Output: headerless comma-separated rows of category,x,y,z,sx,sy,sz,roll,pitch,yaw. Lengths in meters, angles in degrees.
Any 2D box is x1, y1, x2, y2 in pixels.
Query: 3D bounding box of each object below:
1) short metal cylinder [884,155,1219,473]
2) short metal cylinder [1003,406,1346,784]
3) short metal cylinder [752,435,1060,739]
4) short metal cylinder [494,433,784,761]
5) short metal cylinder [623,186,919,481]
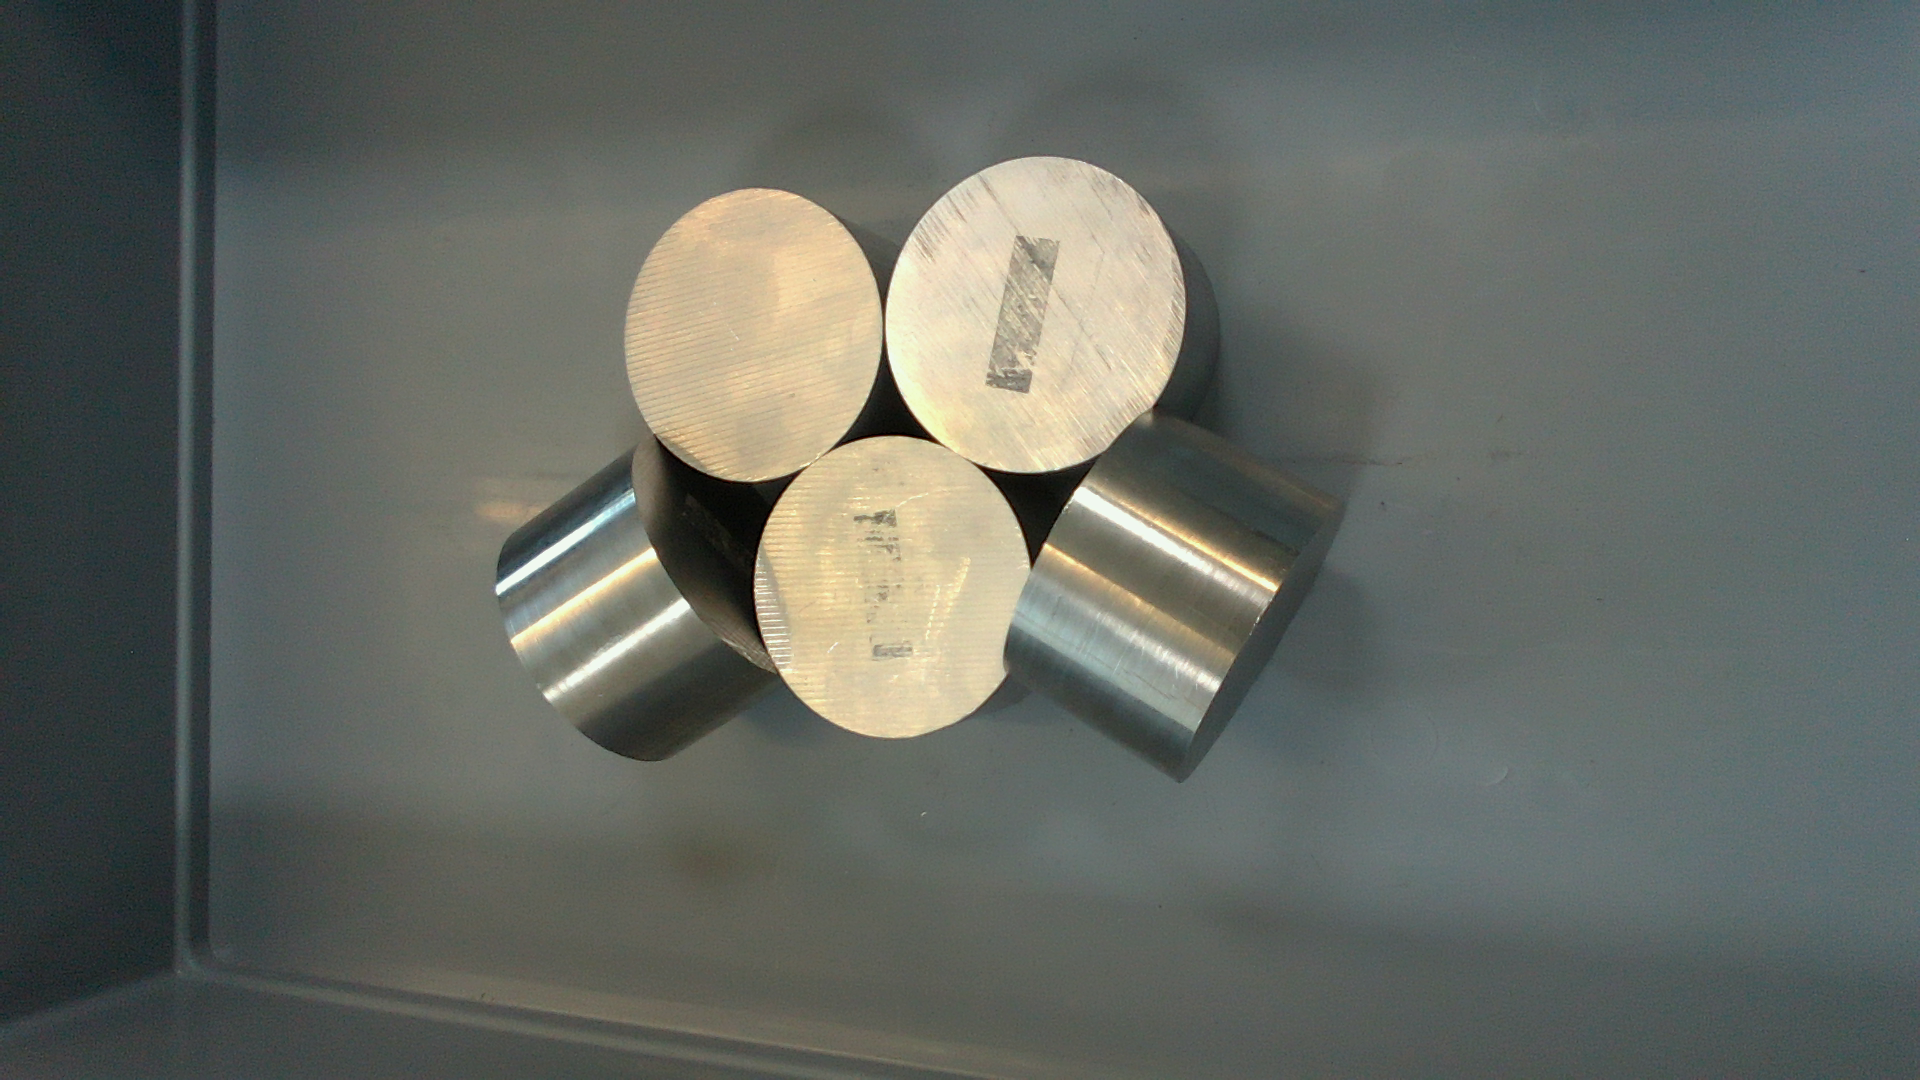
short metal cylinder,0.026,-0.057,0.372,0.080,0.050,0.080,0,90,20
short metal cylinder,0.054,0.014,0.346,0.050,0.080,0.080,31,100,18
short metal cylinder,-0.011,0.012,0.385,0.080,0.050,0.080,0,90,20
short metal cylinder,-0.085,0.016,0.396,0.050,0.080,0.080,-32,80,17
short metal cylinder,-0.049,-0.056,0.399,0.080,0.050,0.080,0,90,20
